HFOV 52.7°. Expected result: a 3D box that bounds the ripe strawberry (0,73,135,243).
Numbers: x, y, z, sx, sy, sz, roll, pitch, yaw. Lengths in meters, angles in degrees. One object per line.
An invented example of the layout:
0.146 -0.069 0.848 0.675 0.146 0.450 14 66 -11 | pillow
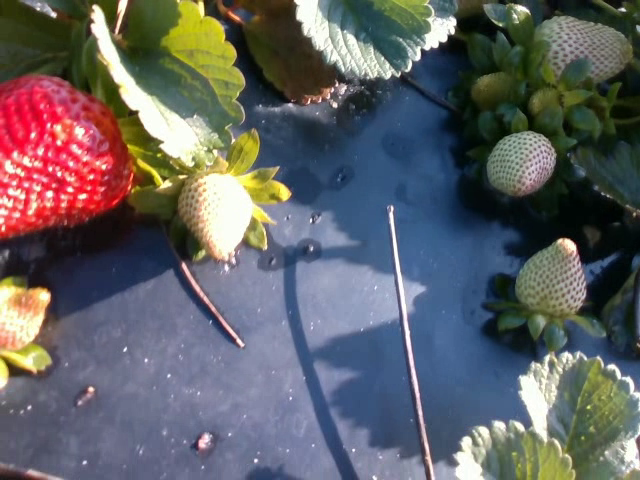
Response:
-0.089 -0.022 0.185 0.056 0.055 0.072 -5 35 30 | ripe strawberry
